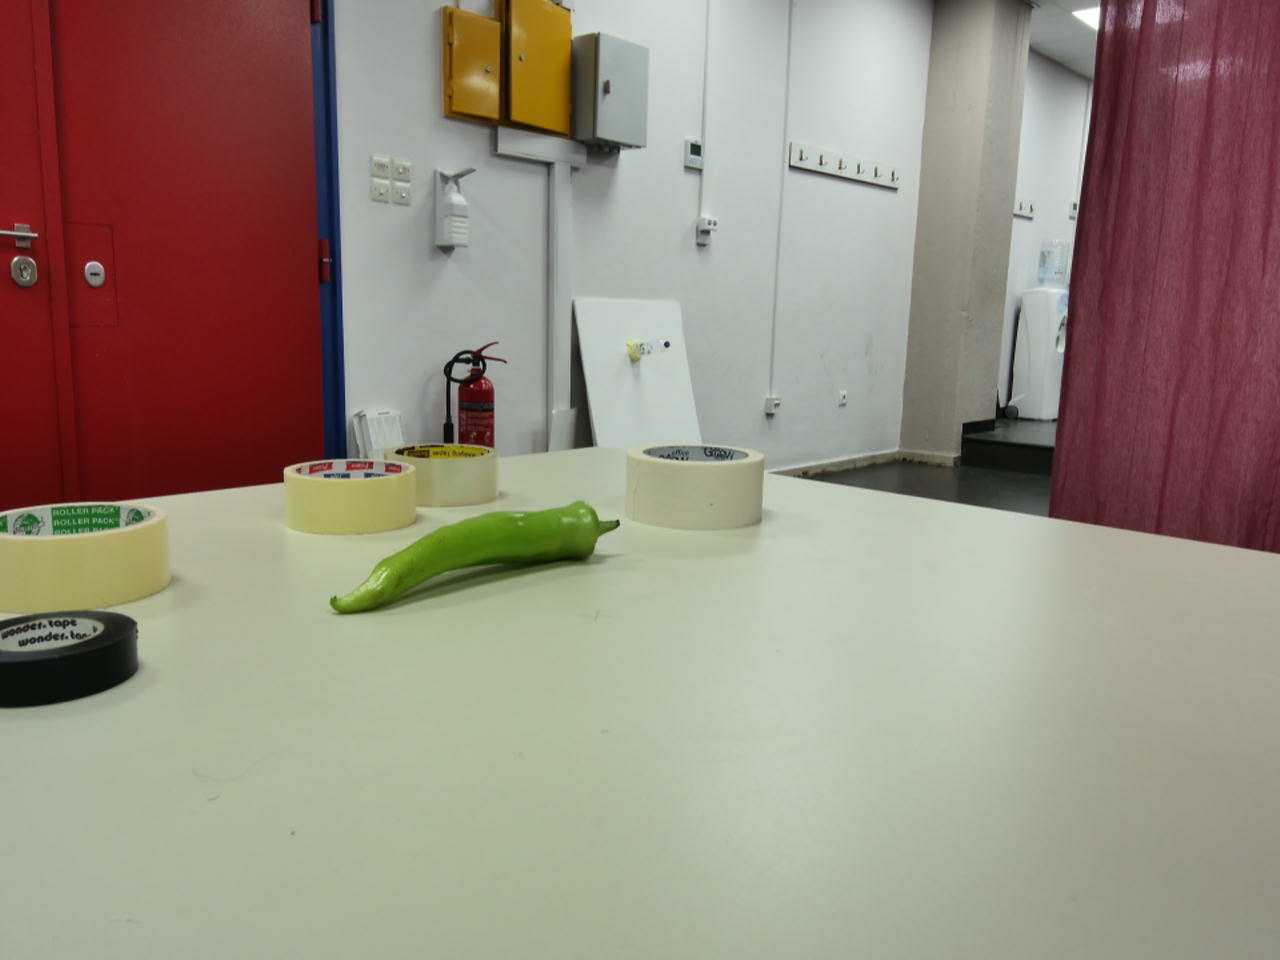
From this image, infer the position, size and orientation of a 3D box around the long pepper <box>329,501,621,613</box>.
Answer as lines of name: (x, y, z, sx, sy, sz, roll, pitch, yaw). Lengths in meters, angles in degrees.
long pepper: (-0.095, 0.039, 0.581, 0.047, 0.038, 0.197, 8, 11, 44)
